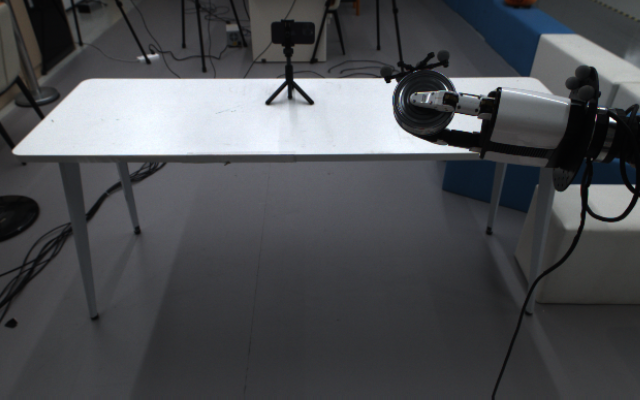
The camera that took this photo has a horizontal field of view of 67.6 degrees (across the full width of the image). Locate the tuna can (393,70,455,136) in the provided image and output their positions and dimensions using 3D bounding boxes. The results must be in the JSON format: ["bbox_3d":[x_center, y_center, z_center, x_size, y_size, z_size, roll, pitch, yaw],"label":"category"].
[{"bbox_3d":[0.143,-0.136,0.661,0.085,0.085,0.034,12,-6,15],"label":"tuna can"}]
